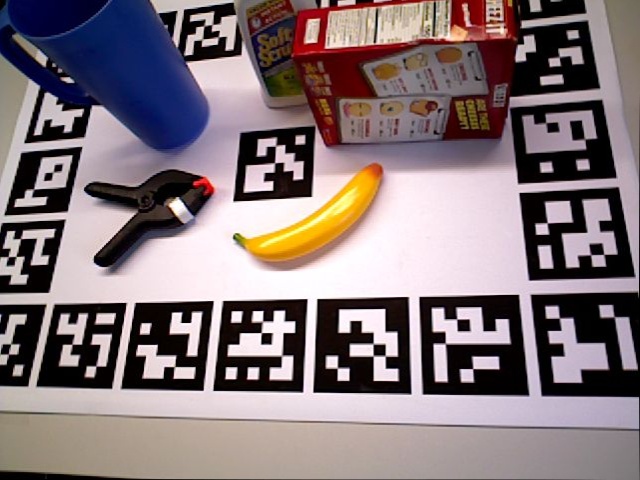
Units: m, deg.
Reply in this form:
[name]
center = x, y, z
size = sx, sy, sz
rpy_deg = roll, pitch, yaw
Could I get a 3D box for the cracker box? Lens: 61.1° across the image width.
[cracker box]
center = 0.104, -0.179, 0.576
size = 0.214, 0.166, 0.071
rpy_deg = -3, 62, 14

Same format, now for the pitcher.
[pitcher]
center = -0.238, -0.204, 0.619
size = 0.188, 0.245, 0.132
rpy_deg = -20, 63, 0

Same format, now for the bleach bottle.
[bleach bottle]
center = -0.051, -0.247, 0.613
size = 0.103, 0.253, 0.067
rpy_deg = -4, 64, 11

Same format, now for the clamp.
[clamp]
center = -0.205, -0.033, 0.677
size = 0.165, 0.037, 0.121
rpy_deg = -19, 63, 3

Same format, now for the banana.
[banana]
center = 0.011, -0.024, 0.629
size = 0.196, 0.039, 0.074
rpy_deg = -35, 63, -2
